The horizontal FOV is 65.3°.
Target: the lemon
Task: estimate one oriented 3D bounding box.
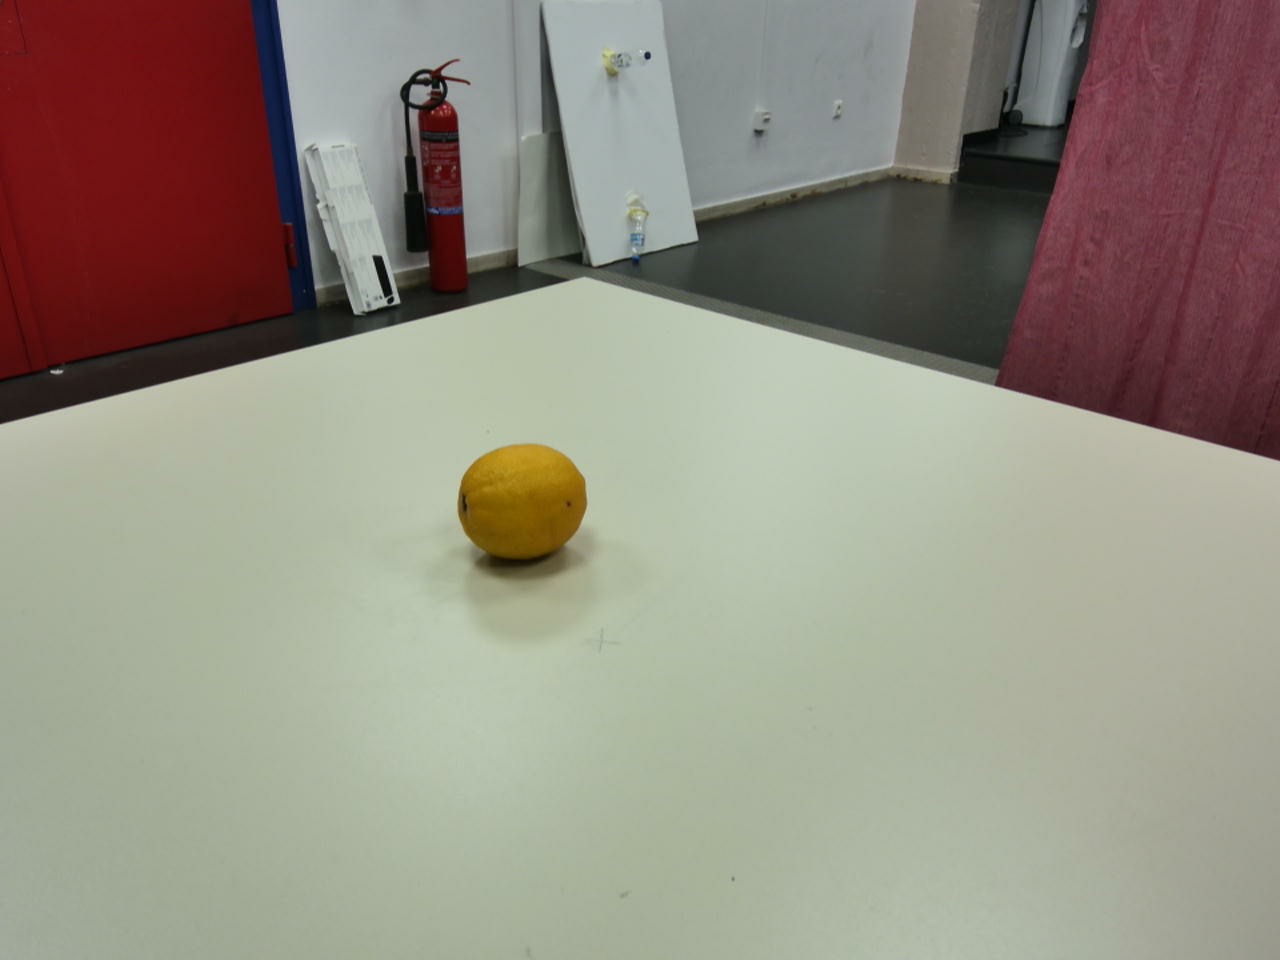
[{"bbox_3d":[-0.061,0.012,0.520,0.067,0.059,0.060,-2,25,-6],"label":"lemon"}]
